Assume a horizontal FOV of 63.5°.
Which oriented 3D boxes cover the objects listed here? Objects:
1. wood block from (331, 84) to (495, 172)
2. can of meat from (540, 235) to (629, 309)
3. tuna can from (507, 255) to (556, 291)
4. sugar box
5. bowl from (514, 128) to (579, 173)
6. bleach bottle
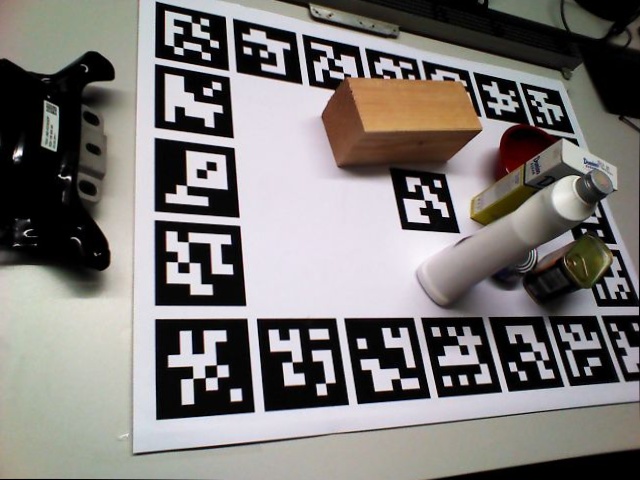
[{"bbox_3d":[0.134,-0.159,0.738,0.205,0.090,0.090,-7,73,-28],"label":"wood block"},{"bbox_3d":[0.382,0.049,0.755,0.101,0.084,0.058,-31,78,-34],"label":"can of meat"},{"bbox_3d":[0.294,0.029,0.746,0.085,0.034,0.085,9,66,-20],"label":"tuna can"},{"bbox_3d":[0.333,-0.055,0.719,0.093,0.177,0.045,21,61,-10],"label":"sugar box"},{"bbox_3d":[0.371,-0.101,0.835,0.161,0.055,0.161,8,63,-17],"label":"bowl"},{"bbox_3d":[0.246,0.004,0.610,0.102,0.252,0.068,-25,77,-32],"label":"bleach bottle"}]
